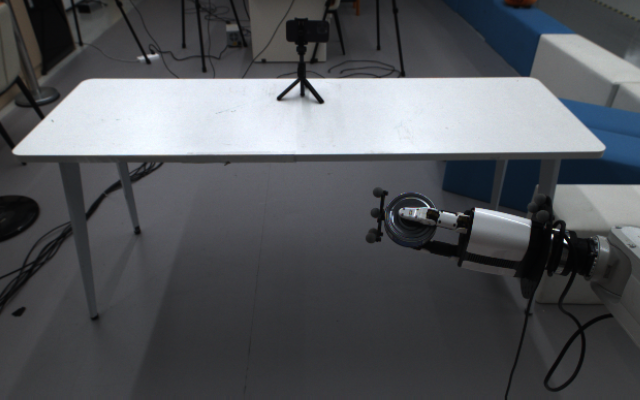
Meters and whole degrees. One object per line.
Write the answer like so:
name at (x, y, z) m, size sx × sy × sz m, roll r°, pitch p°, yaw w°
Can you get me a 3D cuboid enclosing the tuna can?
tuna can at (0.149, 0.034, 0.773) m, size 0.085 × 0.034 × 0.085 m, roll -2°, pitch 68°, yaw 6°
